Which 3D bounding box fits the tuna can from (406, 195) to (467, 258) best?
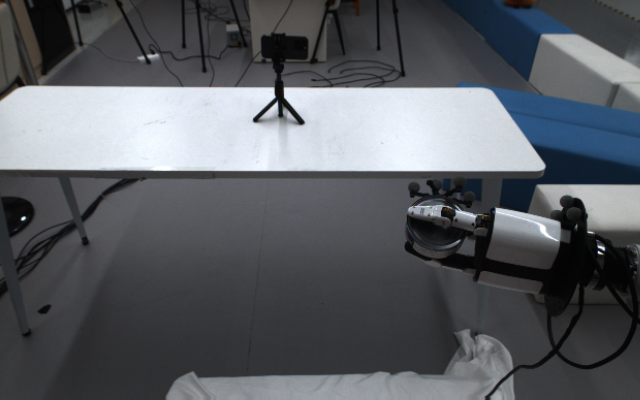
[{"bbox_3d":[0.163,0.032,0.678,0.085,0.034,0.085,-2,57,3],"label":"tuna can"}]
